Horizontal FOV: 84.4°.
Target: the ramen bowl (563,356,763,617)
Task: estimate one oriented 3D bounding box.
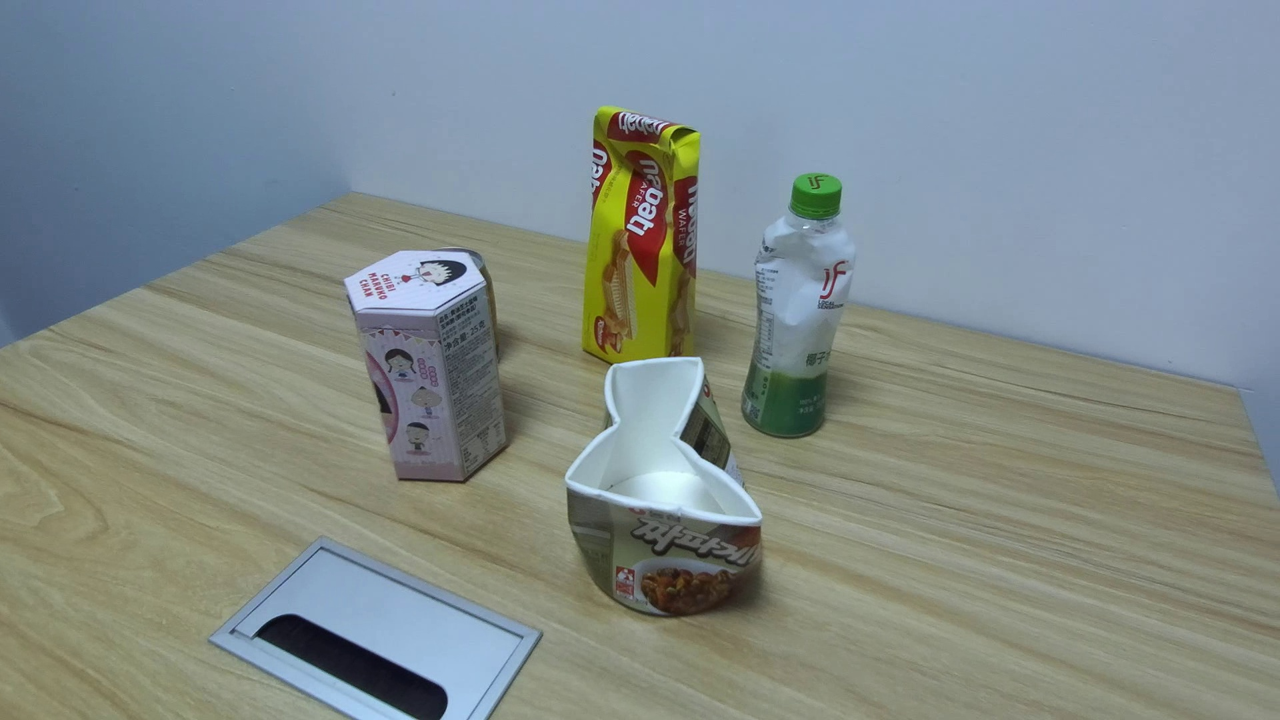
[{"bbox_3d":[0.020,0.071,0.418,0.111,0.093,0.128,7,37,8],"label":"ramen bowl"}]

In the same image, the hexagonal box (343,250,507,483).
[{"bbox_3d":[-0.141,0.006,0.476,0.084,0.136,0.091,-15,37,-23],"label":"hexagonal box"}]

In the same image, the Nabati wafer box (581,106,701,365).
[{"bbox_3d":[-0.001,-0.083,0.546,0.113,0.205,0.043,26,40,34],"label":"Nabati wafer box"}]

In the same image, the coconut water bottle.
[{"bbox_3d":[0.111,-0.035,0.491,0.069,0.187,0.069,2,34,-1],"label":"coconut water bottle"}]
